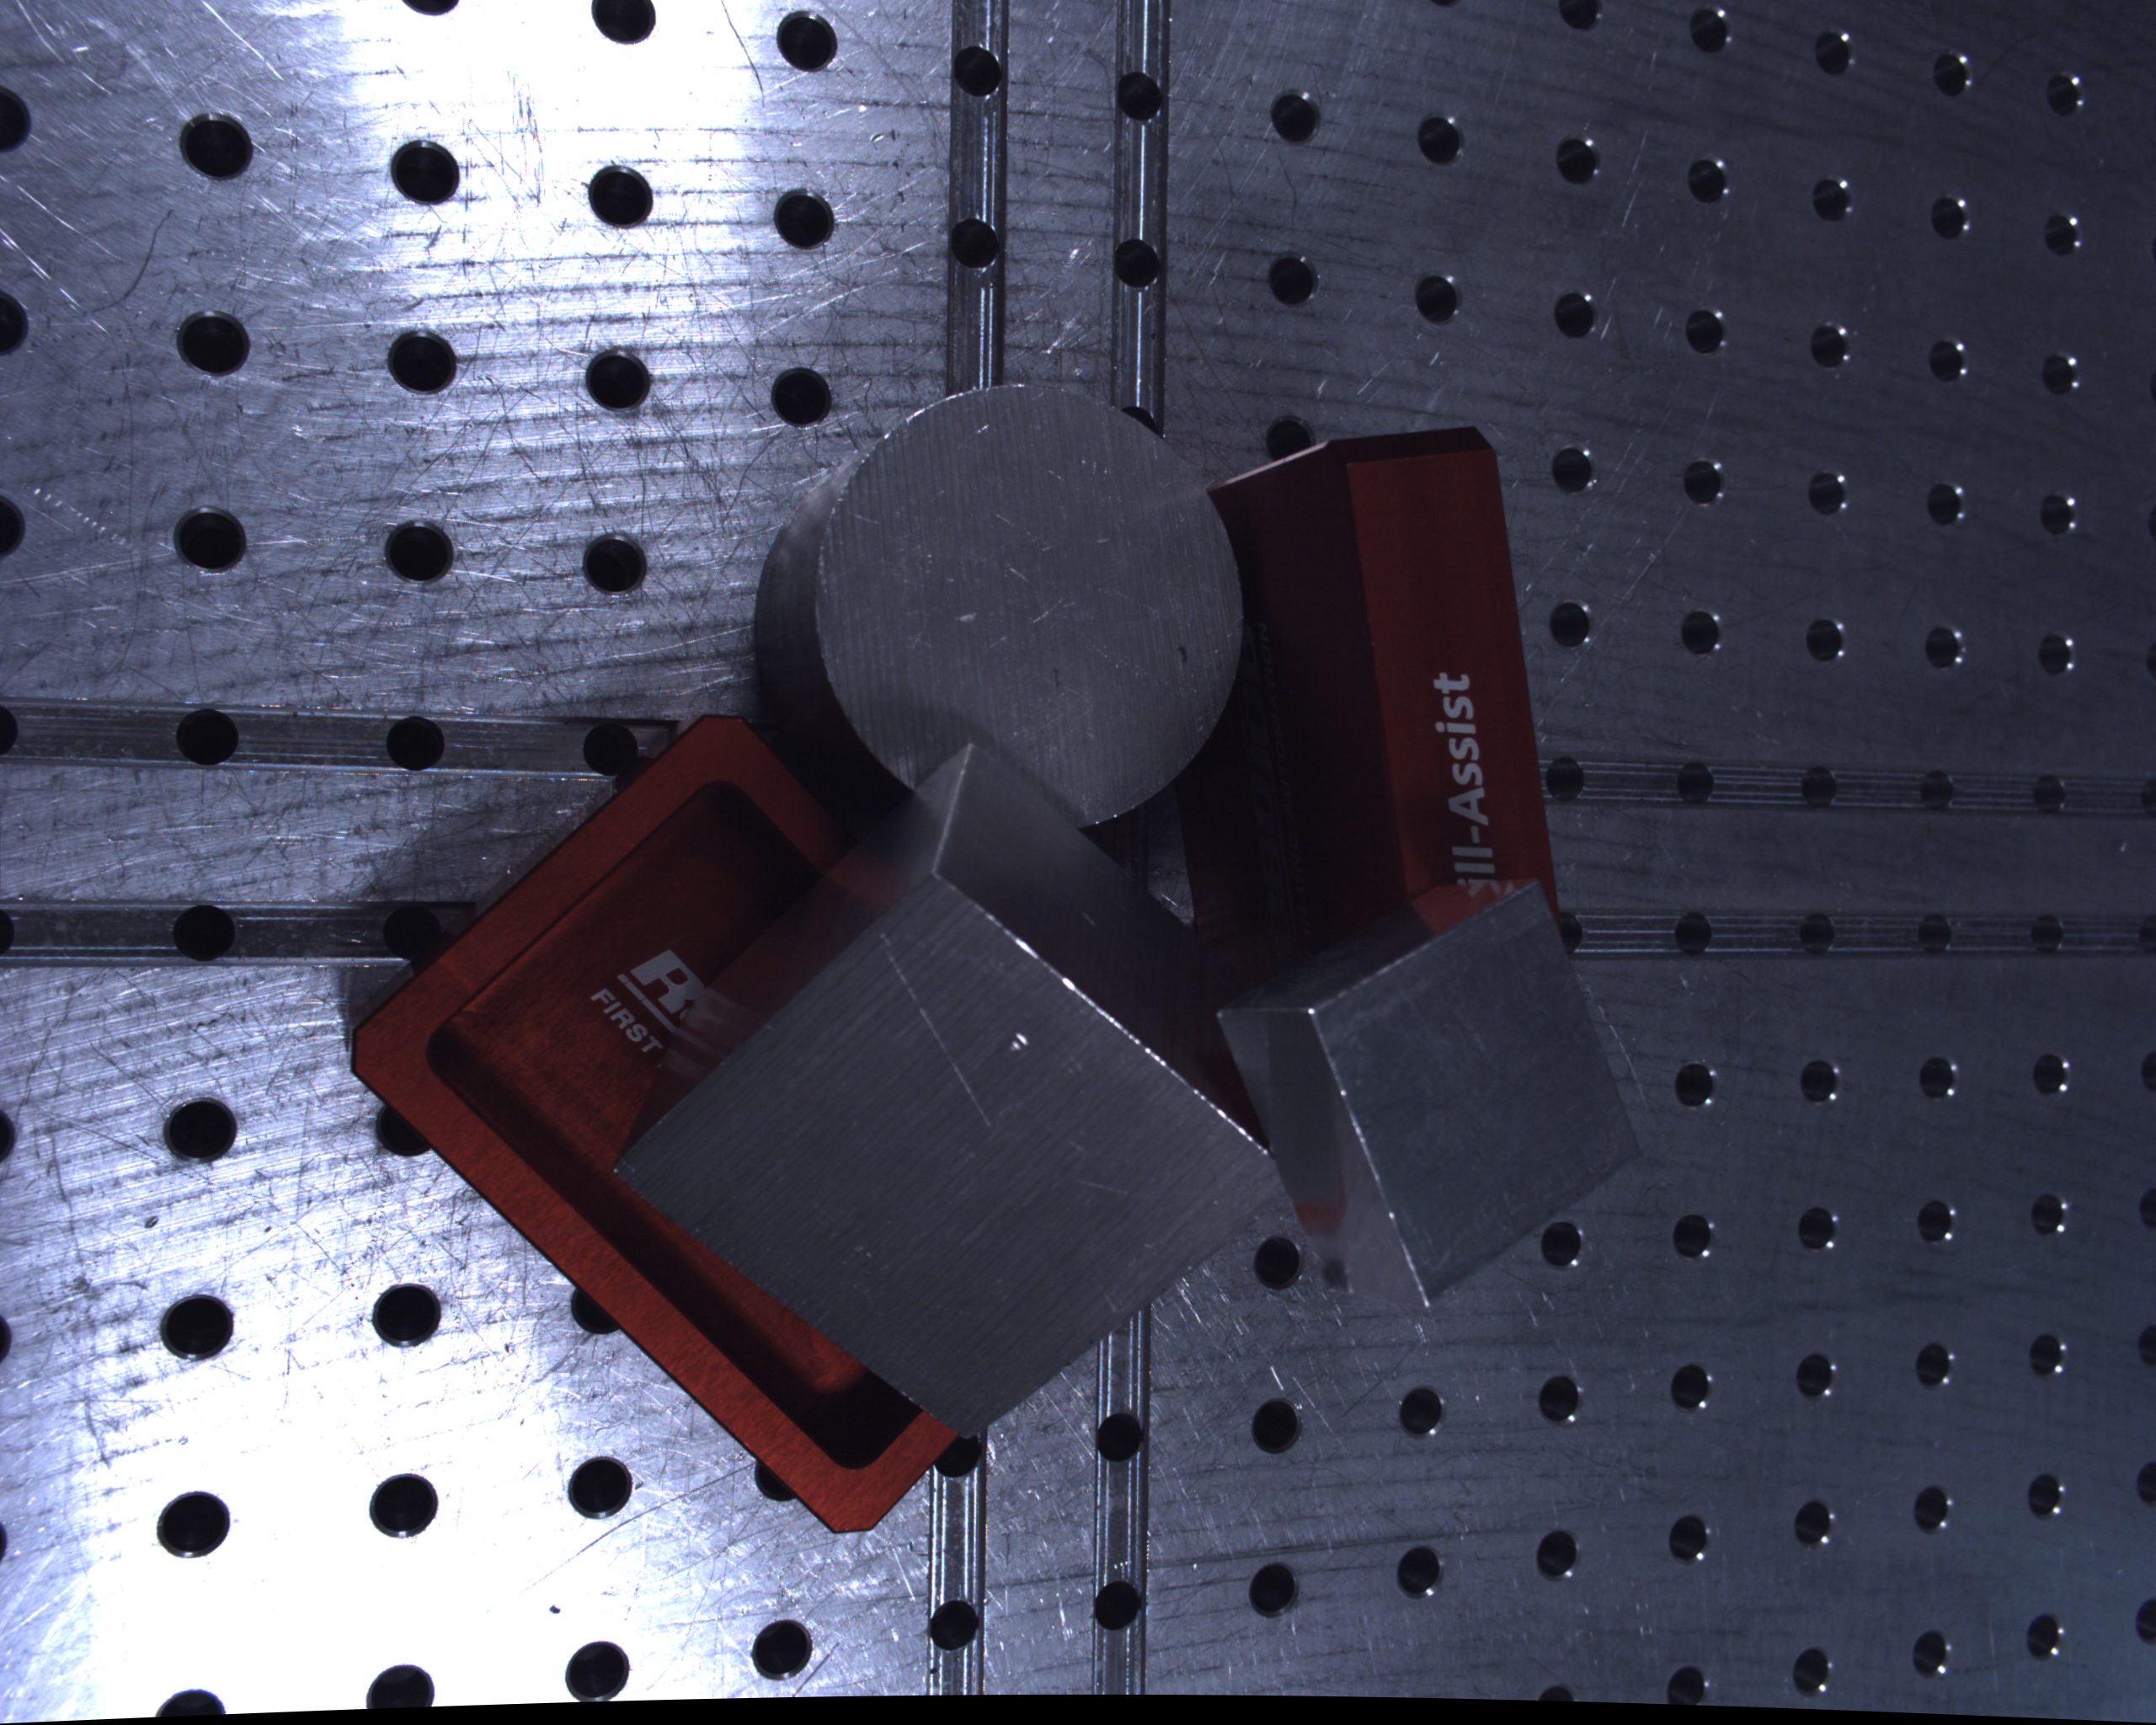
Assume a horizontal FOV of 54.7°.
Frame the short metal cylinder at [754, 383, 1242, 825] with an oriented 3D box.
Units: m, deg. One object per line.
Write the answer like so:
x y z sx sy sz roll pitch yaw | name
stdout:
-0.016 -0.046 0.394 0.081 0.050 0.079 0 90 -21 | short metal cylinder

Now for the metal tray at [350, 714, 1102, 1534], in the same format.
-0.057 0.048 0.389 0.090 0.030 0.130 -45 104 -15 | metal tray

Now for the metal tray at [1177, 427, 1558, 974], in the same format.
0.051 -0.010 0.398 0.030 0.090 0.129 -10 94 -20 | metal tray

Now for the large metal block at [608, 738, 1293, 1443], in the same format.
-0.019 0.040 0.360 0.080 0.050 0.080 41 112 -16 | large metal block

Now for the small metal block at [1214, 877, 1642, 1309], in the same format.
0.057 0.036 0.335 0.050 0.025 0.050 -27 100 -30 | small metal block
